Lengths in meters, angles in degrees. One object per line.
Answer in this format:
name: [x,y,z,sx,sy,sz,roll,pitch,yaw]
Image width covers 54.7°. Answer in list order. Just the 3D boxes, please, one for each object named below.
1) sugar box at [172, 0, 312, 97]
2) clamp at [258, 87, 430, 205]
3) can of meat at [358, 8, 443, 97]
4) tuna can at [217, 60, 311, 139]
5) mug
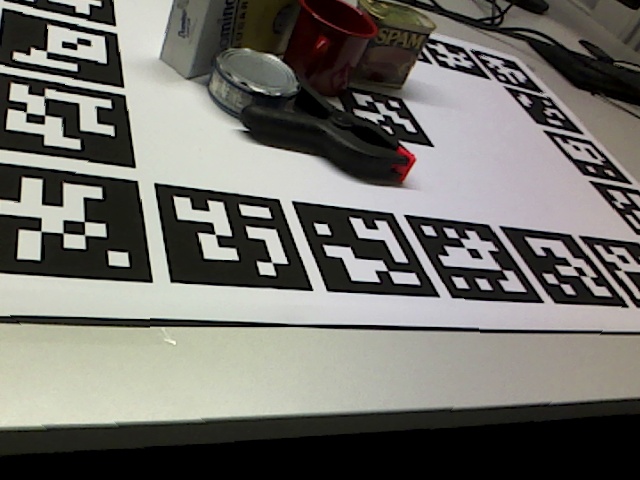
sugar box: [-0.070,-0.211,0.633,0.045,0.093,0.176,36,37,12]
clamp: [0.029,-0.086,0.596,0.165,0.036,0.122,30,33,-5]
can of meat: [0.085,-0.224,0.751,0.101,0.084,0.058,-3,46,-36]
tuna can: [-0.054,-0.133,0.590,0.085,0.034,0.086,17,41,-15]
mug: [0.016,-0.198,0.666,0.093,0.081,0.117,21,40,-10]
